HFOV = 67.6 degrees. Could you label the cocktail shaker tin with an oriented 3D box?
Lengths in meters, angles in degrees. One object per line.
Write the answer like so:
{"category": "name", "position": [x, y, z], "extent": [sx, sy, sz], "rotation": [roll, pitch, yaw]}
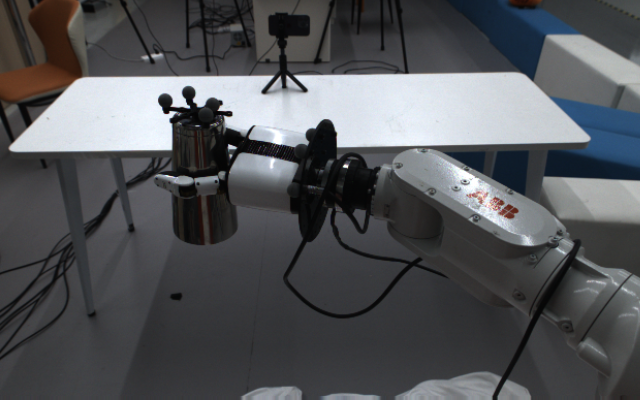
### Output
{"category": "cocktail shaker tin", "position": [-0.160, -0.034, 0.660], "extent": [0.093, 0.170, 0.093], "rotation": [3, 32, -2]}
